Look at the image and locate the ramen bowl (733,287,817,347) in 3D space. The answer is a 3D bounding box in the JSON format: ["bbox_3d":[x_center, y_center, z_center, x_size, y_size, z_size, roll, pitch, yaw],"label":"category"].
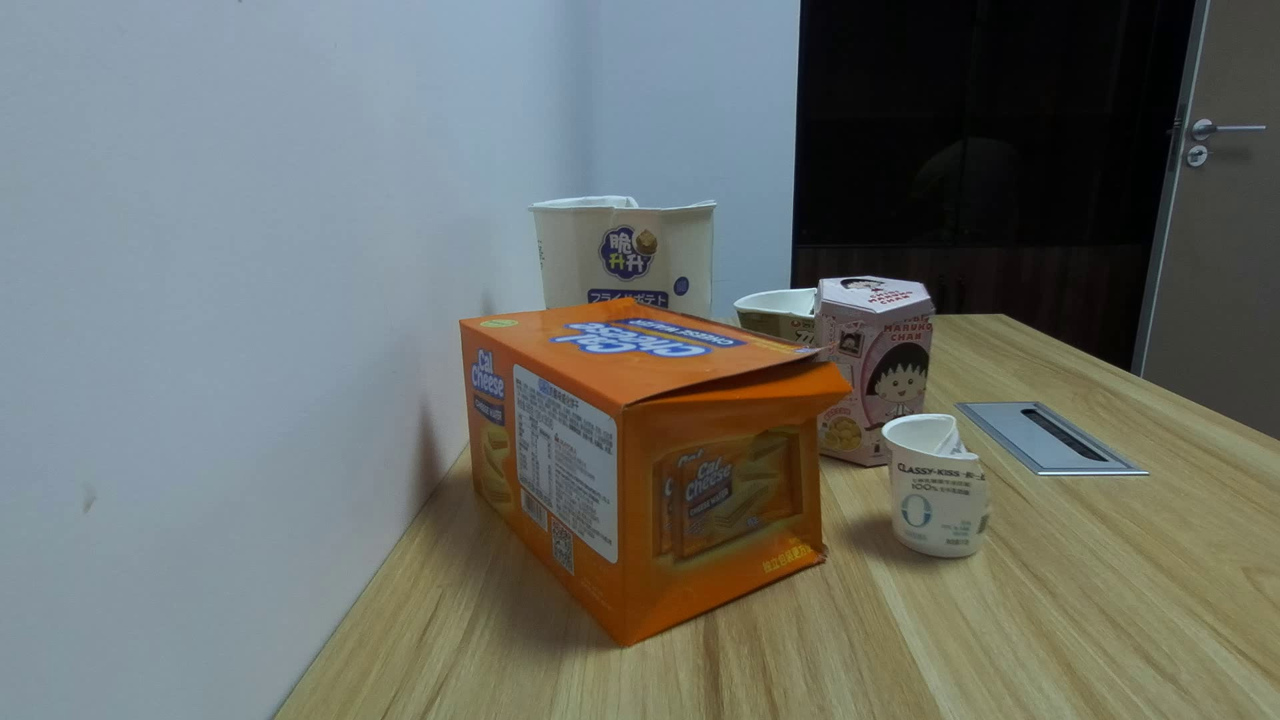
[{"bbox_3d":[0.165,-0.015,0.712,0.137,0.098,0.137,0,15,0],"label":"ramen bowl"}]

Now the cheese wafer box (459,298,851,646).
[{"bbox_3d":[-0.003,0.043,0.451,0.150,0.137,0.226,-11,18,-31],"label":"cheese wafer box"}]

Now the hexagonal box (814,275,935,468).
[{"bbox_3d":[0.181,0.007,0.562,0.092,0.135,0.085,-6,17,-15],"label":"hexagonal box"}]

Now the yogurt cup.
[{"bbox_3d":[0.179,0.077,0.430,0.067,0.070,0.067,-1,18,1],"label":"yogurt cup"}]

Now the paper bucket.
[{"bbox_3d":[0.002,-0.054,0.679,0.162,0.202,0.170,13,23,34],"label":"paper bucket"}]
